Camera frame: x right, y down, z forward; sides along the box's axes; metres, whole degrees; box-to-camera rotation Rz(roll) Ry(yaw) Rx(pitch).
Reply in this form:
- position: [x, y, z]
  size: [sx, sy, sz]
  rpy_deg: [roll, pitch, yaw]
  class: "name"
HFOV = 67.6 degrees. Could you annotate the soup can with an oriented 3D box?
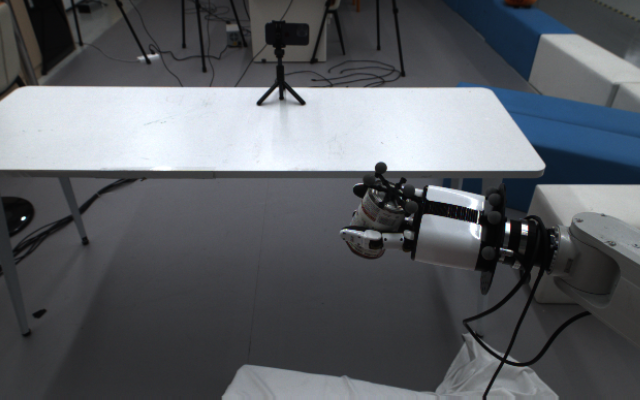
- position: [0.085, 0.029, 0.712]
  size: [0.067, 0.101, 0.067]
  rpy_deg: [14, 39, -12]
  class: "soup can"
